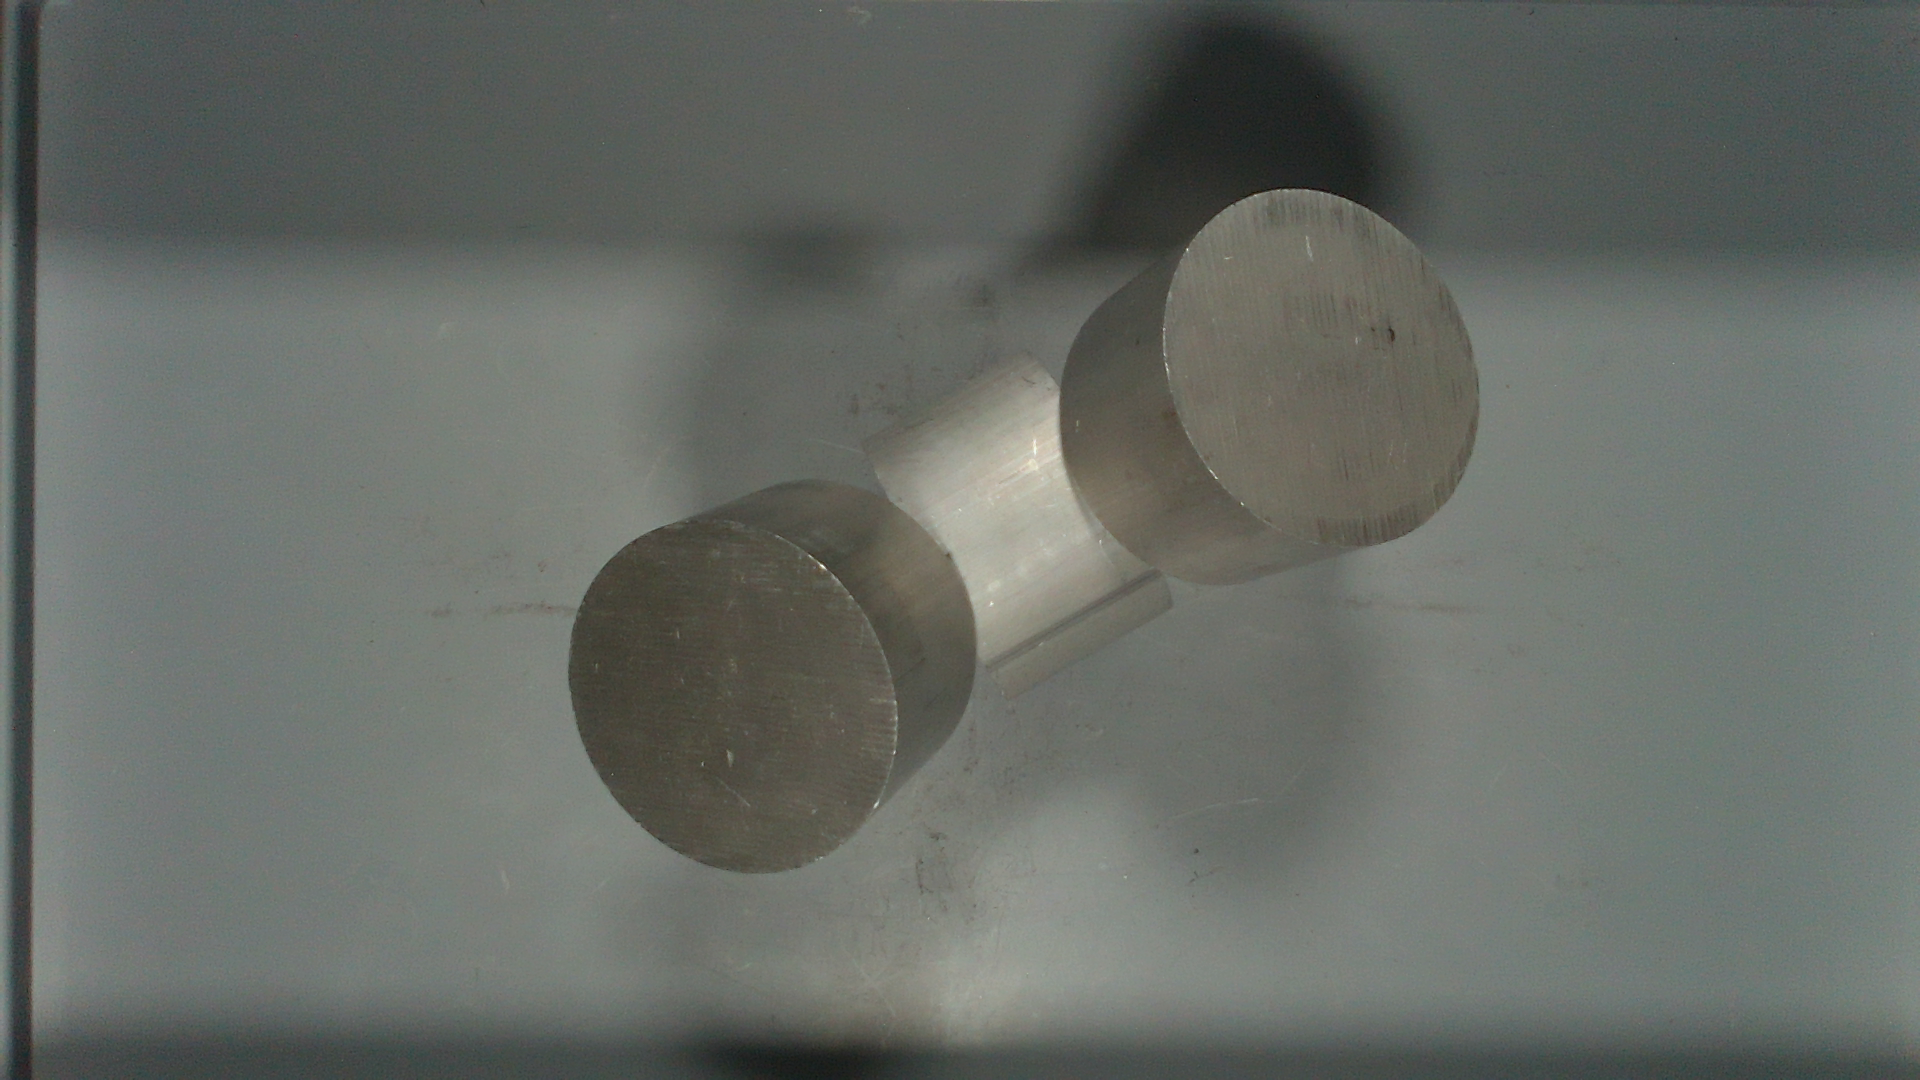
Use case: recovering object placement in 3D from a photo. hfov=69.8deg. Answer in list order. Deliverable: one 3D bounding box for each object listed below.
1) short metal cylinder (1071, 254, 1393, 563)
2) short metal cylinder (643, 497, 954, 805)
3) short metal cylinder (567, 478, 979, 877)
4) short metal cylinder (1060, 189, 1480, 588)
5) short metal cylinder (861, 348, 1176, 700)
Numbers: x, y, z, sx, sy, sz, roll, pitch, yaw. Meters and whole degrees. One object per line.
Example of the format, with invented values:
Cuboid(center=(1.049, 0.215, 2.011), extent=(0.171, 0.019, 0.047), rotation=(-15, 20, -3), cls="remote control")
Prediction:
Cuboid(center=(0.073, -0.034, 0.382), extent=(0.080, 0.050, 0.080), rotation=(0, 90, 0), cls="short metal cylinder")
Cuboid(center=(-0.042, 0.029, 0.381), extent=(0.080, 0.050, 0.080), rotation=(0, 90, 0), cls="short metal cylinder")
Cuboid(center=(-0.041, 0.029, 0.317), extent=(0.080, 0.050, 0.080), rotation=(5, 104, 19), cls="short metal cylinder")
Cuboid(center=(0.070, -0.032, 0.317), extent=(0.080, 0.050, 0.080), rotation=(5, 77, -21), cls="short metal cylinder")
Cuboid(center=(0.015, -0.004, 0.366), extent=(0.050, 0.080, 0.080), rotation=(-30, 90, 0), cls="short metal cylinder")
